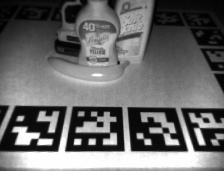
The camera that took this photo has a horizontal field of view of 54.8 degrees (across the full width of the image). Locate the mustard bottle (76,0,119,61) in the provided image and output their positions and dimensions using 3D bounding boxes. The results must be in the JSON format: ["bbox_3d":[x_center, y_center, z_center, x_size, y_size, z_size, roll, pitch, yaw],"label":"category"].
[{"bbox_3d":[-0.030,-0.135,0.481,0.096,0.192,0.058,2,47,-2],"label":"mustard bottle"}]

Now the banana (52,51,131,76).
[{"bbox_3d":[-0.053,-0.056,0.524,0.197,0.039,0.074,4,49,2],"label":"banana"}]

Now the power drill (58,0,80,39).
[{"bbox_3d":[-0.069,-0.202,0.512,0.184,0.188,0.057,11,47,5],"label":"power drill"}]

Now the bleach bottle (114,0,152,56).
[{"bbox_3d":[0.042,-0.192,0.506,0.102,0.252,0.067,3,42,0],"label":"bleach bottle"}]
